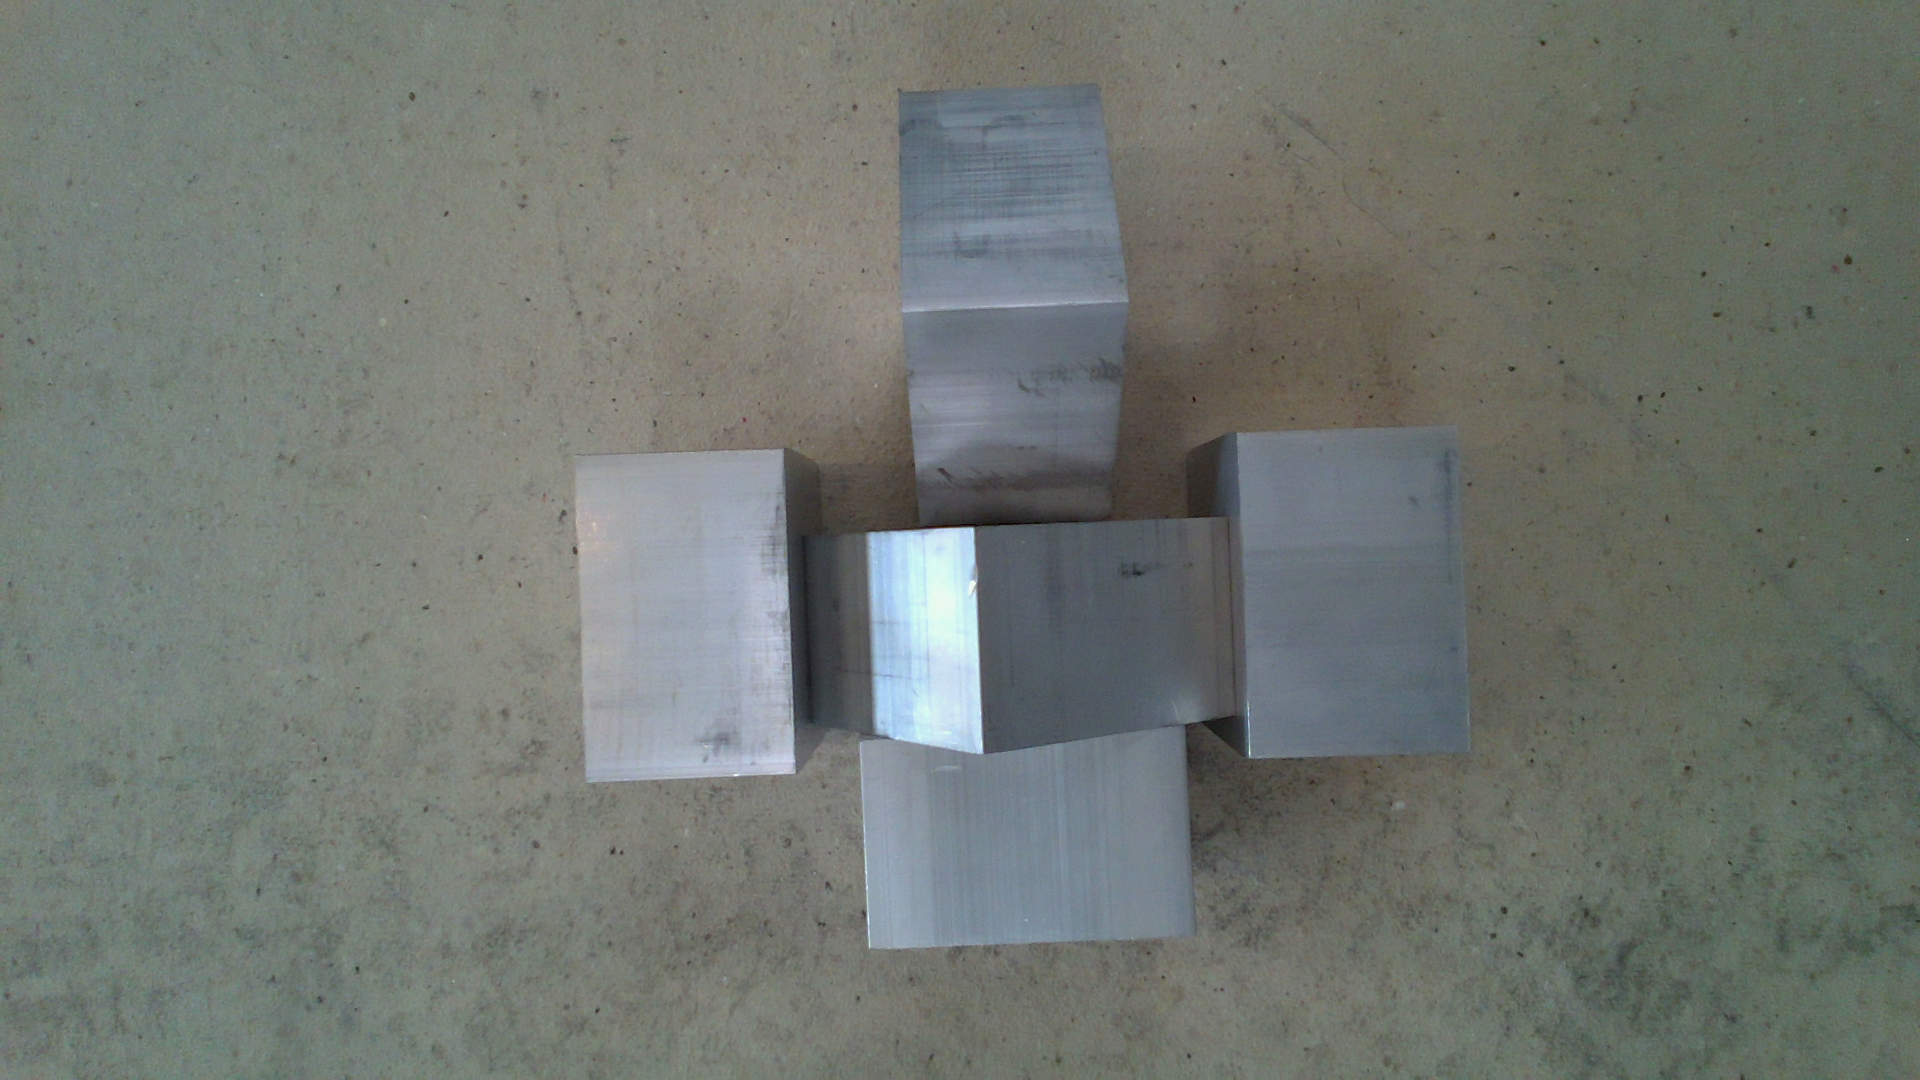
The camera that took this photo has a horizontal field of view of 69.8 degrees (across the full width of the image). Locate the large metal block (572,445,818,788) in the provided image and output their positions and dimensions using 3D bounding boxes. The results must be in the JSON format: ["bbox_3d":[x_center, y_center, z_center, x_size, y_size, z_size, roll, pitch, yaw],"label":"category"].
[{"bbox_3d":[-0.066,0.018,0.367,0.050,0.080,0.080,-2,90,0],"label":"large metal block"}]

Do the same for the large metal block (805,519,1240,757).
[{"bbox_3d":[0.014,0.022,0.354,0.080,0.080,0.050,-2,89,-35],"label":"large metal block"}]

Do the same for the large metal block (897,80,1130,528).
[{"bbox_3d":[0.012,-0.058,0.353,0.050,0.080,0.080,-3,53,0],"label":"large metal block"}]

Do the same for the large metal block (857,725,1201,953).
[{"bbox_3d":[0.017,0.072,0.369,0.080,0.080,0.050,-3,90,0],"label":"large metal block"}]

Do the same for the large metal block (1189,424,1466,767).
[{"bbox_3d":[0.094,0.014,0.369,0.050,0.080,0.080,-2,89,-1],"label":"large metal block"}]
